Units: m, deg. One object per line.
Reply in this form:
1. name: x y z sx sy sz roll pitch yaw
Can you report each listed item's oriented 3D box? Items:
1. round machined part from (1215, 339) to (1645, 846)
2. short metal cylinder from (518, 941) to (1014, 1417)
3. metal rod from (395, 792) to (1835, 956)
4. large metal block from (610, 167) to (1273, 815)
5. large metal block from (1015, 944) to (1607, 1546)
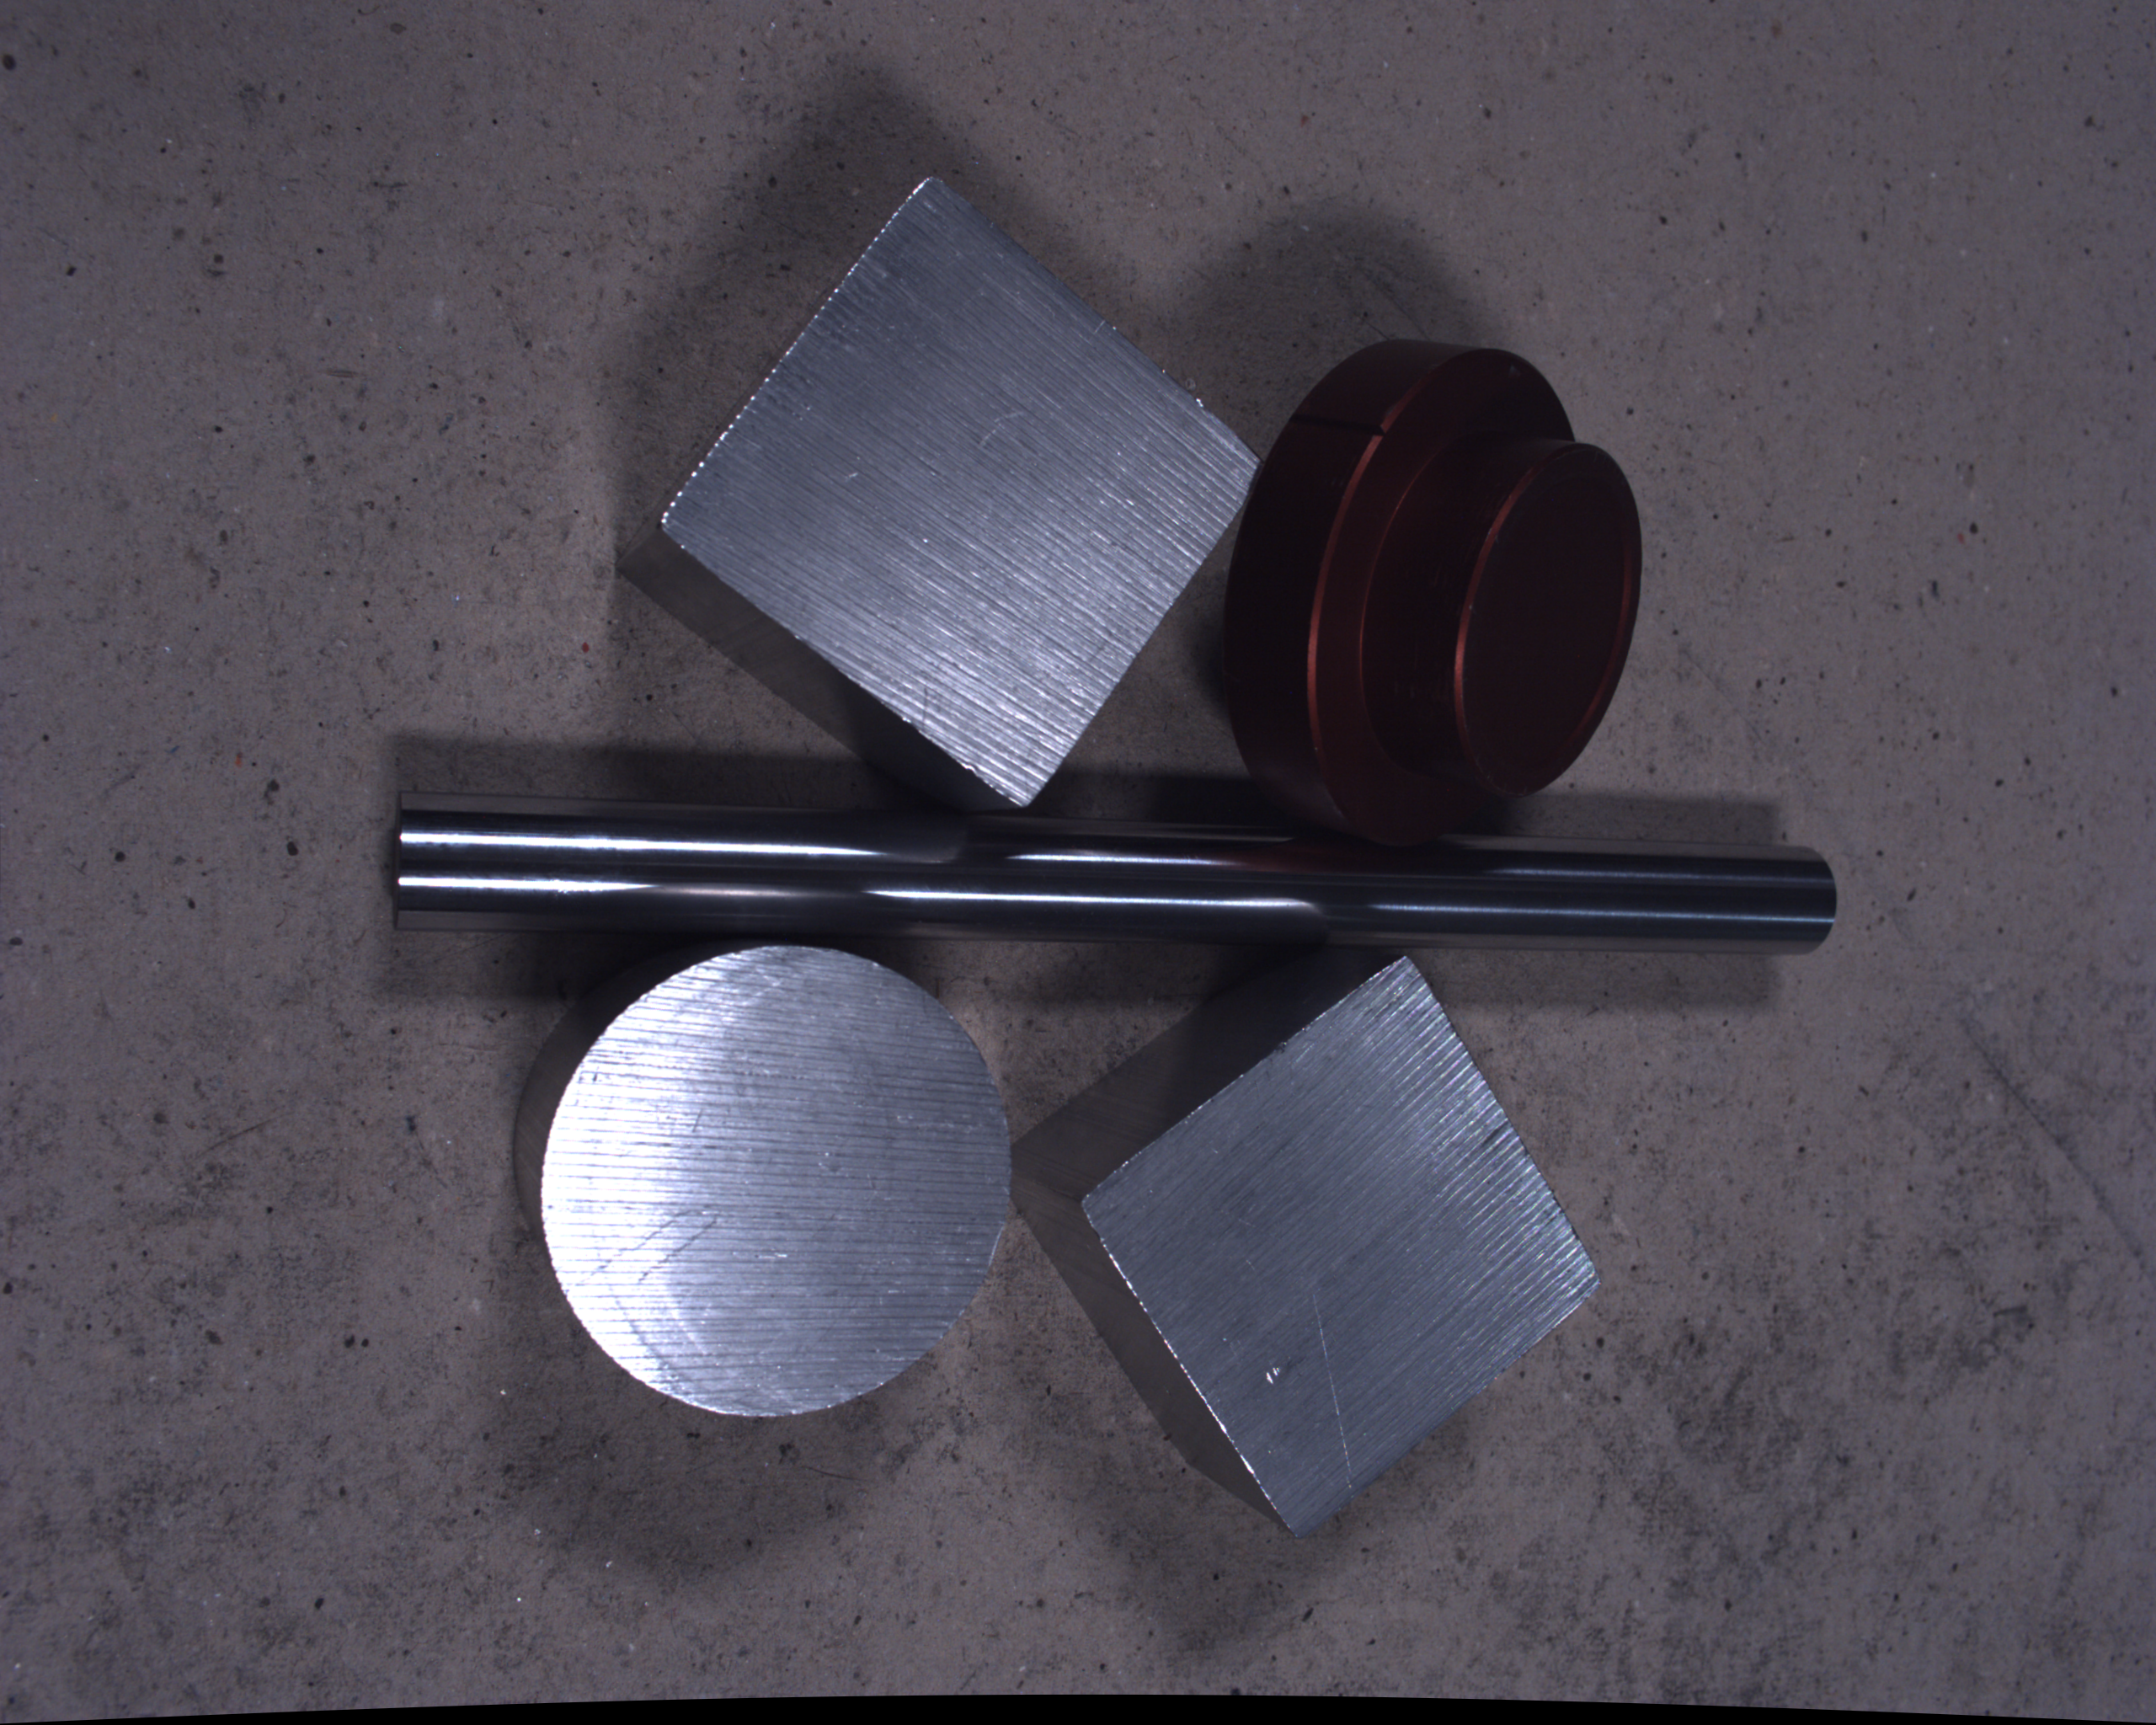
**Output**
1. round machined part: 0.074 -0.050 0.405 0.099 0.042 0.097 -21 119 -42
2. short metal cylinder: -0.058 0.054 0.376 0.081 0.050 0.079 0 90 -21
3. metal rod: 0.022 0.004 0.420 0.303 0.025 0.025 2 90 -21
4. large metal block: -0.026 -0.064 0.386 0.080 0.050 0.080 38 78 -16
5. large metal block: 0.043 0.072 0.414 0.080 0.050 0.080 -35 102 -17
